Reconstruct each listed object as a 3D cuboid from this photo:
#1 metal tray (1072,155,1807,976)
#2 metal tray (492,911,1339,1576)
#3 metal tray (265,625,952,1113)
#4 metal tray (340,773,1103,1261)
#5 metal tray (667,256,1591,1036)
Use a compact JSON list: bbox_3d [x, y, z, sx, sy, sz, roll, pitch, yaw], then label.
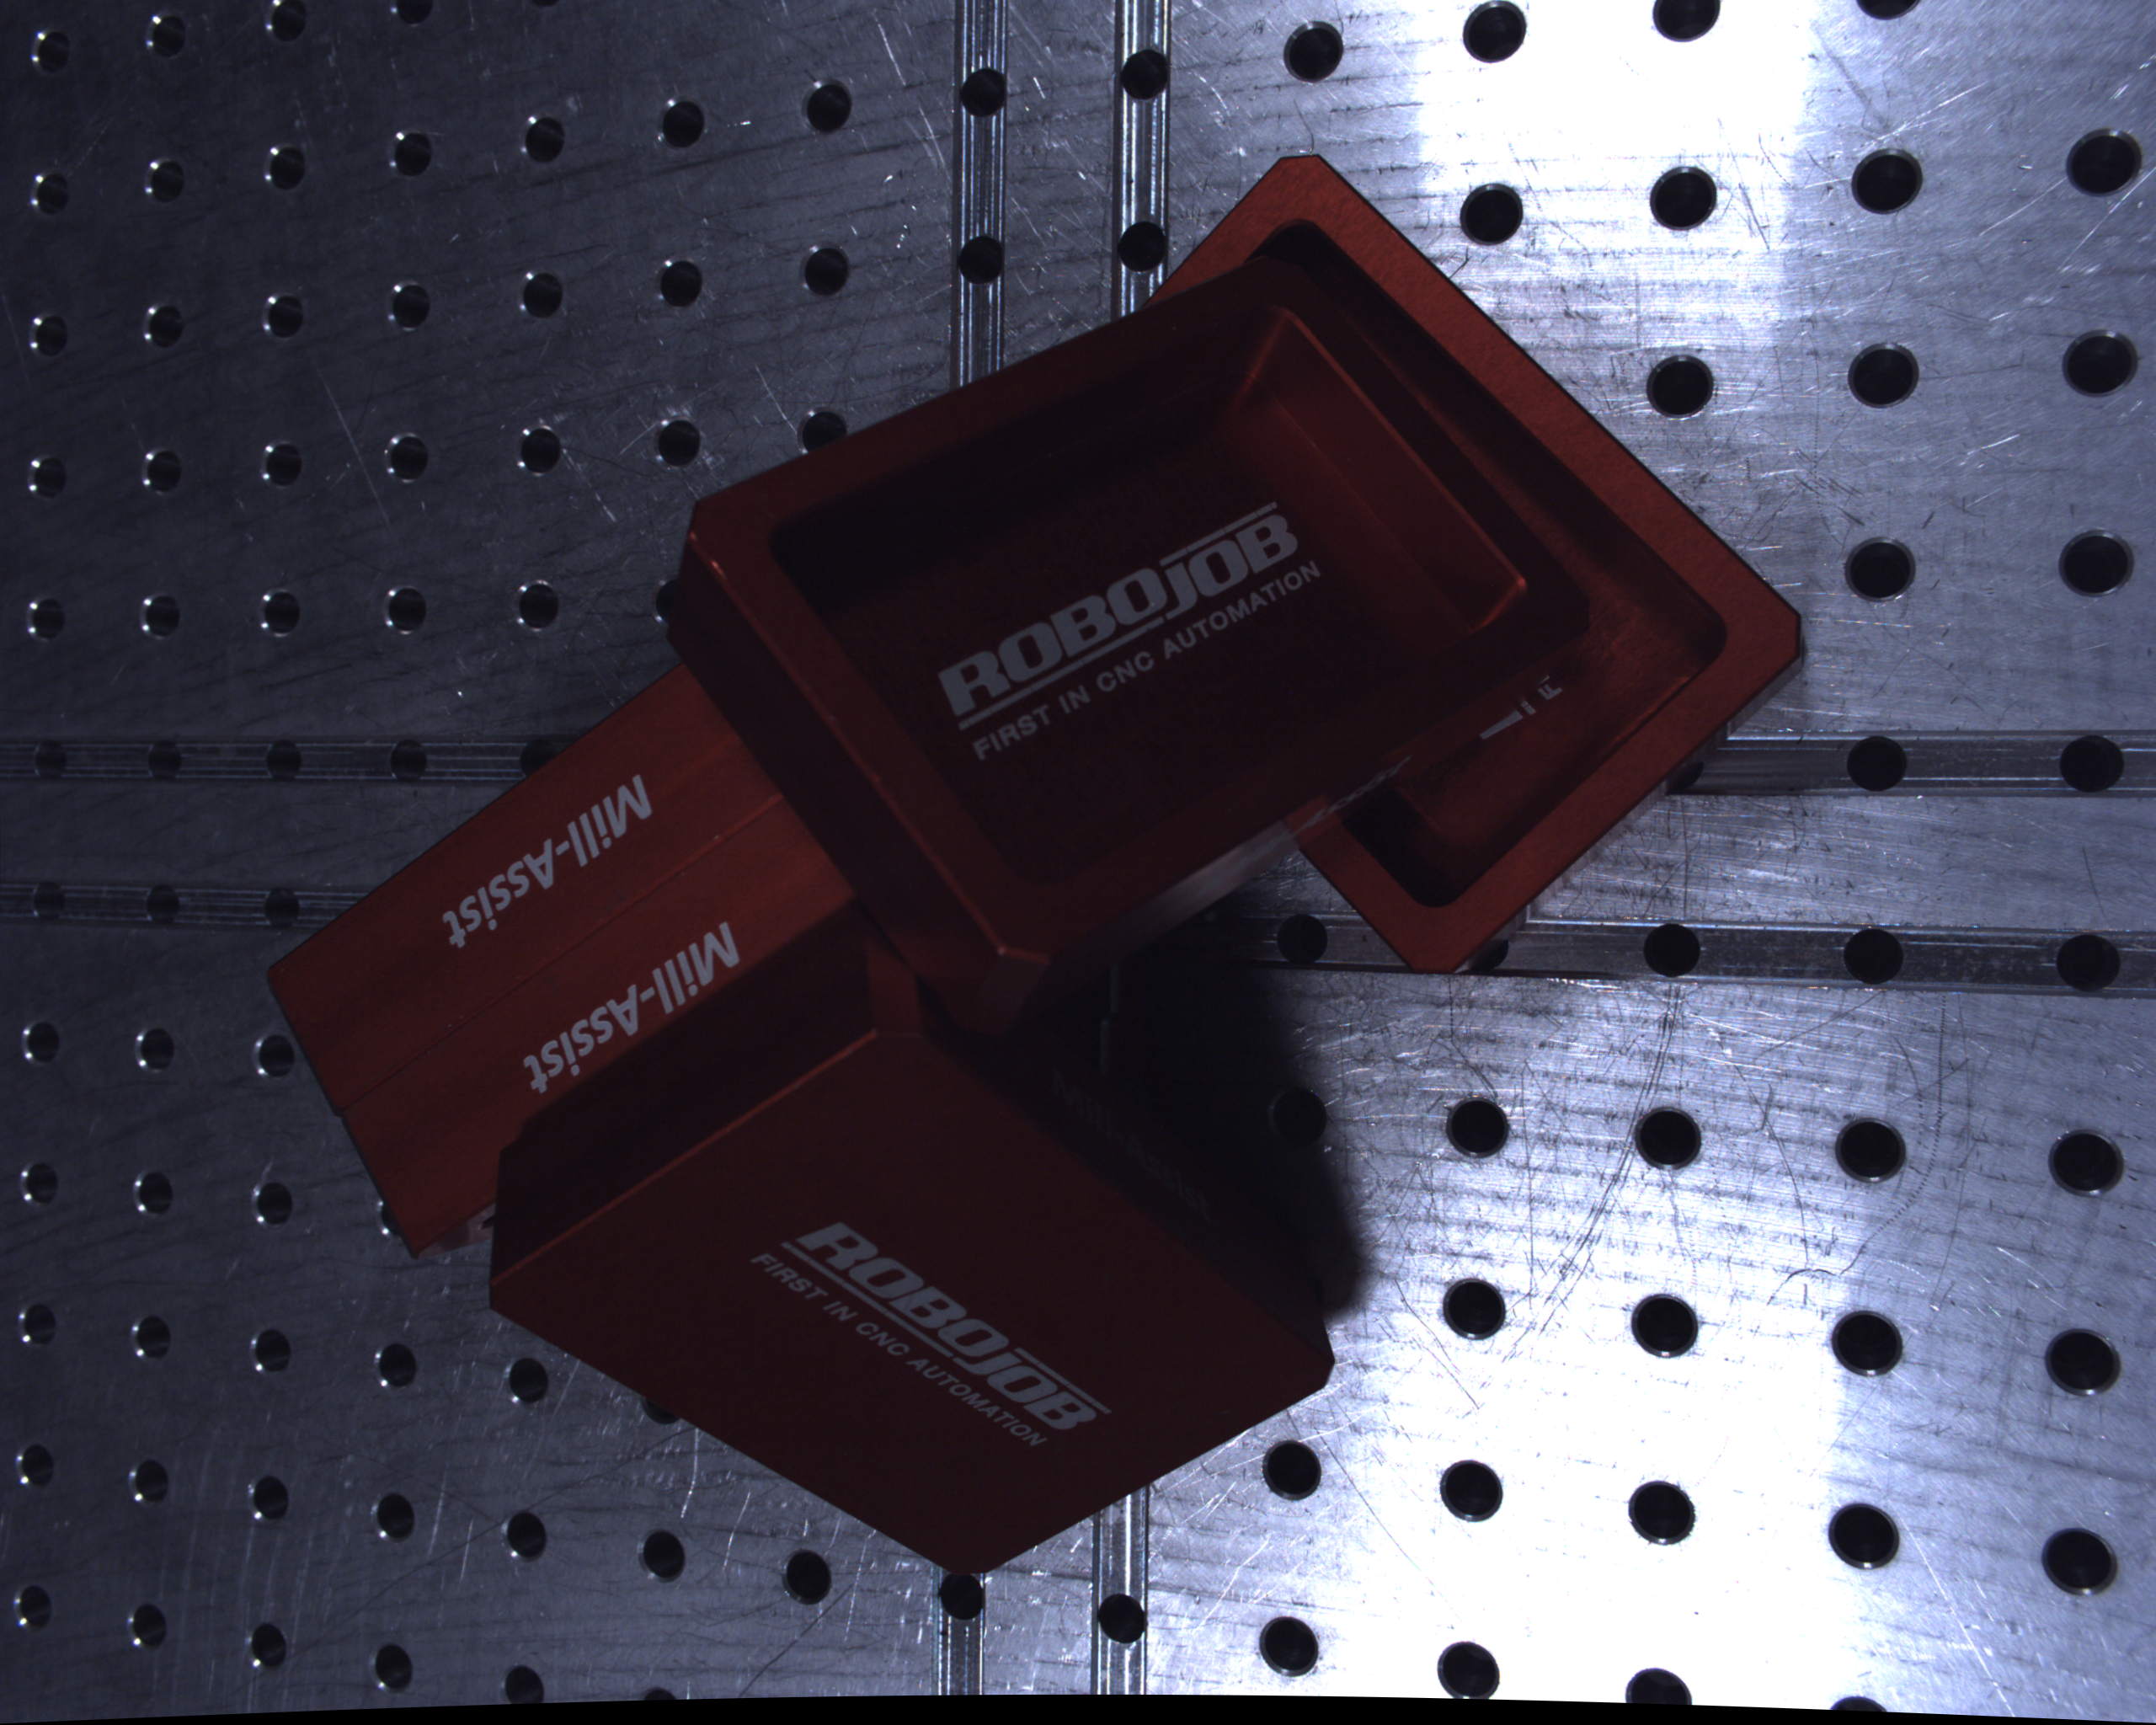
[{"bbox_3d":[0.057,-0.054,0.388,0.090,0.030,0.130,-45,77,14],"label":"metal tray"},{"bbox_3d":[-0.026,0.074,0.371,0.090,0.130,0.030,-34,38,17],"label":"metal tray"},{"bbox_3d":[-0.078,0.000,0.404,0.130,0.090,0.030,-34,79,16],"label":"metal tray"},{"bbox_3d":[-0.062,0.025,0.397,0.130,0.090,0.030,-34,79,16],"label":"metal tray"},{"bbox_3d":[0.011,-0.041,0.348,0.131,0.030,0.090,-31,76,-29],"label":"metal tray"}]
